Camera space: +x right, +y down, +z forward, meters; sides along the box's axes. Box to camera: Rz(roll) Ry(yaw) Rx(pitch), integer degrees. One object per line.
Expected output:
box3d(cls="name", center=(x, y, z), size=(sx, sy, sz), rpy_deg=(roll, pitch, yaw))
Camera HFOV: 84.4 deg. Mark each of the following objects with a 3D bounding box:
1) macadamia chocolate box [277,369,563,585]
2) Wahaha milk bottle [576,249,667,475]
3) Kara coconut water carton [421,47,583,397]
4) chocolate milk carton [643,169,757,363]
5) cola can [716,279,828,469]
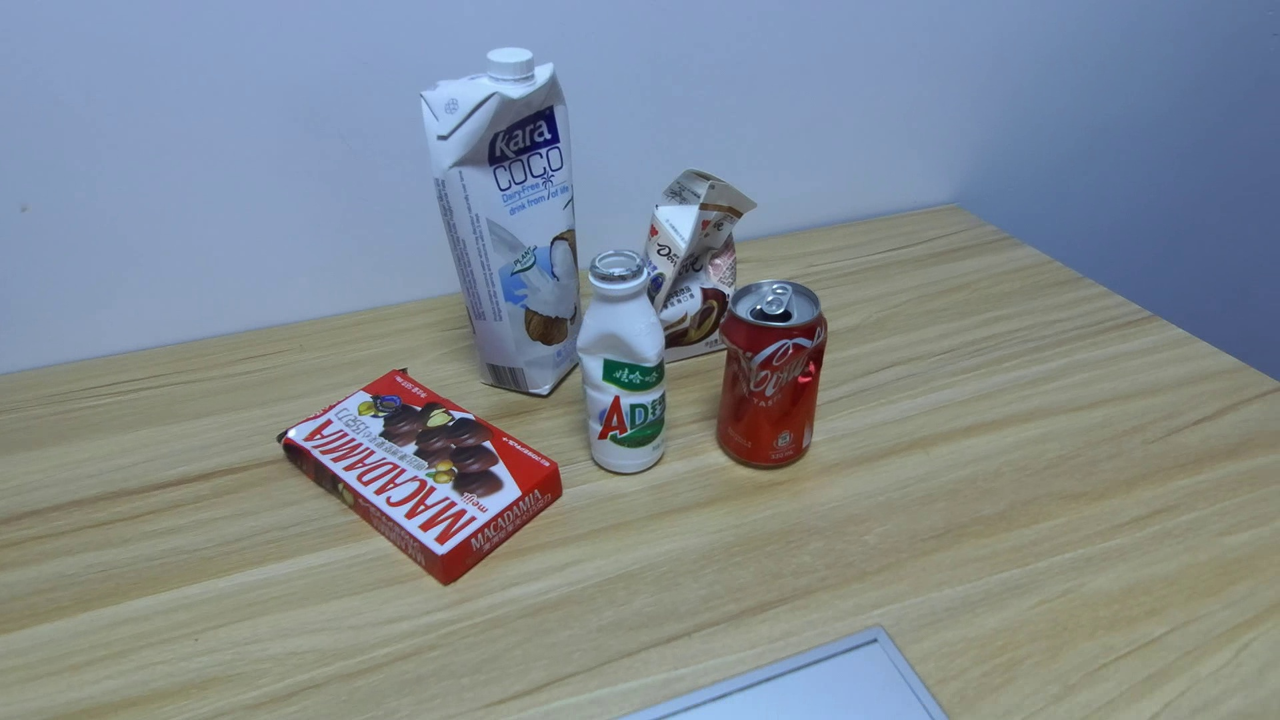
box3d(cls="macadamia chocolate box", center=(-0.149, 0.067, 0.475), size=(0.182, 0.028, 0.106), rpy_deg=(24, 43, 32))
box3d(cls="Wahaha milk bottle", center=(-0.011, 0.004, 0.444), size=(0.056, 0.148, 0.056), rpy_deg=(0, 36, 1))
box3d(cls="Kara coconut water carton", center=(-0.089, -0.092, 0.508), size=(0.069, 0.239, 0.115), rpy_deg=(13, 35, 24))
box3d(cls="chocolate milk carton", center=(0.044, -0.079, 0.561), size=(0.089, 0.155, 0.076), rpy_deg=(-4, 40, -25))
box3d(cls="cola can", center=(0.085, 0.009, 0.461), size=(0.066, 0.117, 0.066), rpy_deg=(-15, 37, -18))
